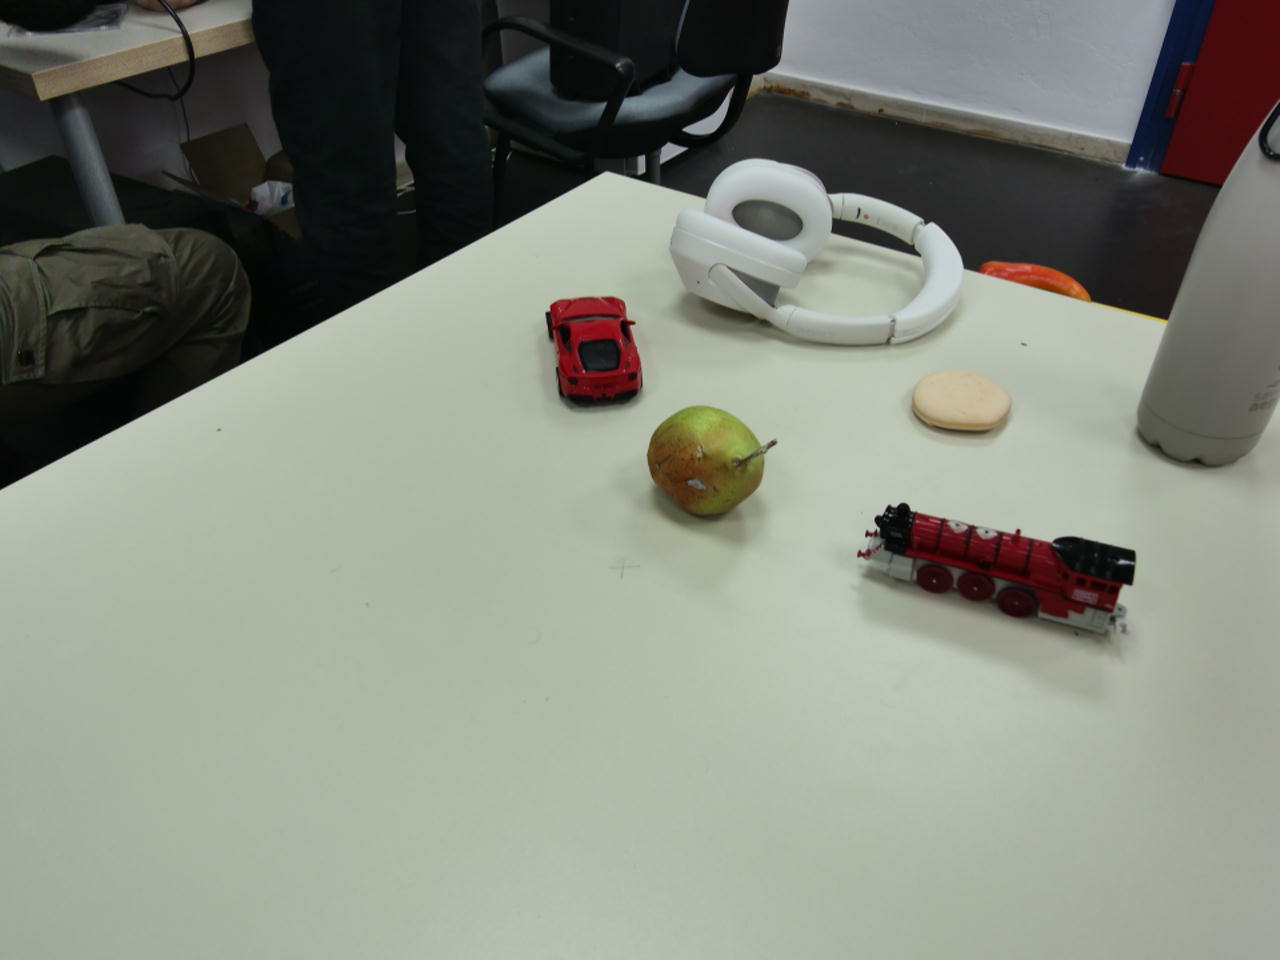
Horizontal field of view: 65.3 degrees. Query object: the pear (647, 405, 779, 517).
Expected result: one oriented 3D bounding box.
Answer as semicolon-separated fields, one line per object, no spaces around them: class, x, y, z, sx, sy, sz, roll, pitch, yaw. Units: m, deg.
pear;0.039;-0.013;0.585;0.068;0.069;0.070;0;38;-1
